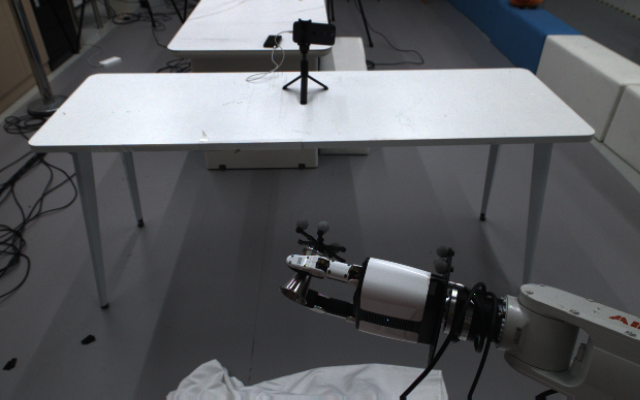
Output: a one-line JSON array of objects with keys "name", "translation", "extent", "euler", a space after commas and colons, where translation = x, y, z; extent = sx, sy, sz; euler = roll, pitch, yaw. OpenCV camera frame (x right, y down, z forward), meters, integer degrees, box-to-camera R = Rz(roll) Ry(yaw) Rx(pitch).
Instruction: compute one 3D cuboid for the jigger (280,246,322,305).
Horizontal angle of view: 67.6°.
[{"name": "jigger", "translation": [-0.023, 0.101, 0.672], "extent": [0.043, 0.043, 0.071], "euler": [19, 61, 23]}]
